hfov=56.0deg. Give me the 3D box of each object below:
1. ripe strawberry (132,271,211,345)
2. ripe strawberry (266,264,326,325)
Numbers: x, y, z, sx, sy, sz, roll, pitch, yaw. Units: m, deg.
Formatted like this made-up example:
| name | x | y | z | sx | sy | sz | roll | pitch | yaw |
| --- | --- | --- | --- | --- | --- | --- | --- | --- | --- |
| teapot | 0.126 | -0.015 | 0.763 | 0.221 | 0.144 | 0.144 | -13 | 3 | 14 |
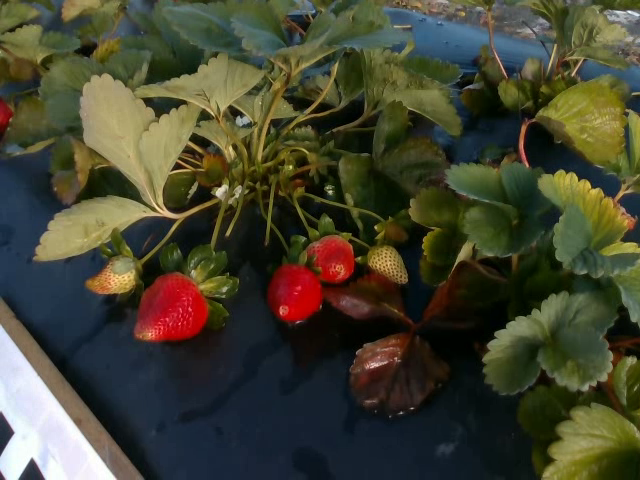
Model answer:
| name | x | y | z | sx | sy | sz | roll | pitch | yaw |
| --- | --- | --- | --- | --- | --- | --- | --- | --- | --- |
| ripe strawberry | -0.106 | 0.048 | 0.399 | 0.050 | 0.050 | 0.065 | -15 | 13 | 30 |
| ripe strawberry | -0.021 | 0.040 | 0.397 | 0.044 | 0.042 | 0.055 | -37 | 8 | 18 |
